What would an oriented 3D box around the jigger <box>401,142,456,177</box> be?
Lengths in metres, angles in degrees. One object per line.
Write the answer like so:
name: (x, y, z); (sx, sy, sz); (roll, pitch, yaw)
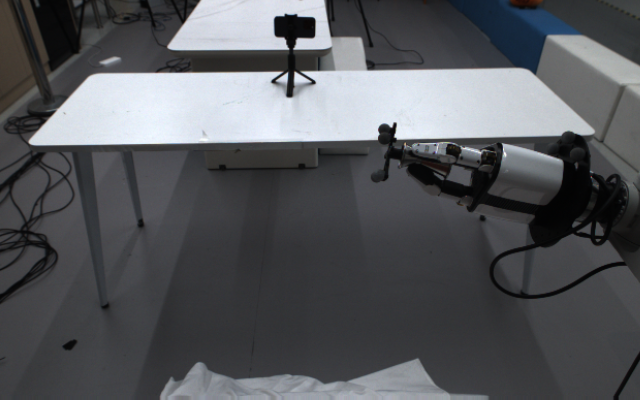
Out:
jigger: (0.153, -0.060, 0.677); (0.071, 0.043, 0.043); (10, 35, 2)
